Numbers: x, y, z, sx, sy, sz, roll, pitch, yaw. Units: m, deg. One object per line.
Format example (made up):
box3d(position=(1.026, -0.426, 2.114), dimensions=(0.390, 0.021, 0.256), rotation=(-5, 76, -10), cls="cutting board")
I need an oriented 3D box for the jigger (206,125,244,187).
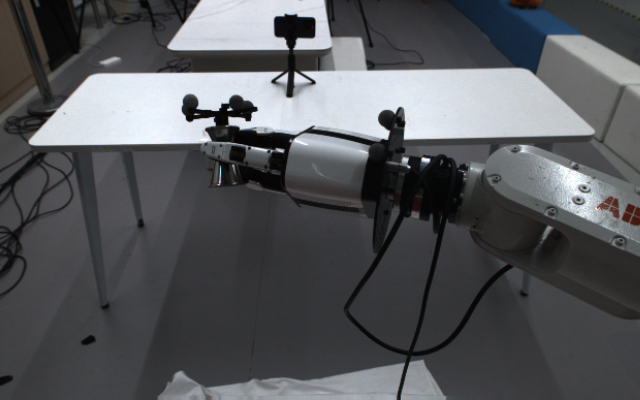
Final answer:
box3d(position=(-0.111, -0.050, 0.566), dimensions=(0.043, 0.071, 0.043), rotation=(-4, 1, 0), cls="jigger")
